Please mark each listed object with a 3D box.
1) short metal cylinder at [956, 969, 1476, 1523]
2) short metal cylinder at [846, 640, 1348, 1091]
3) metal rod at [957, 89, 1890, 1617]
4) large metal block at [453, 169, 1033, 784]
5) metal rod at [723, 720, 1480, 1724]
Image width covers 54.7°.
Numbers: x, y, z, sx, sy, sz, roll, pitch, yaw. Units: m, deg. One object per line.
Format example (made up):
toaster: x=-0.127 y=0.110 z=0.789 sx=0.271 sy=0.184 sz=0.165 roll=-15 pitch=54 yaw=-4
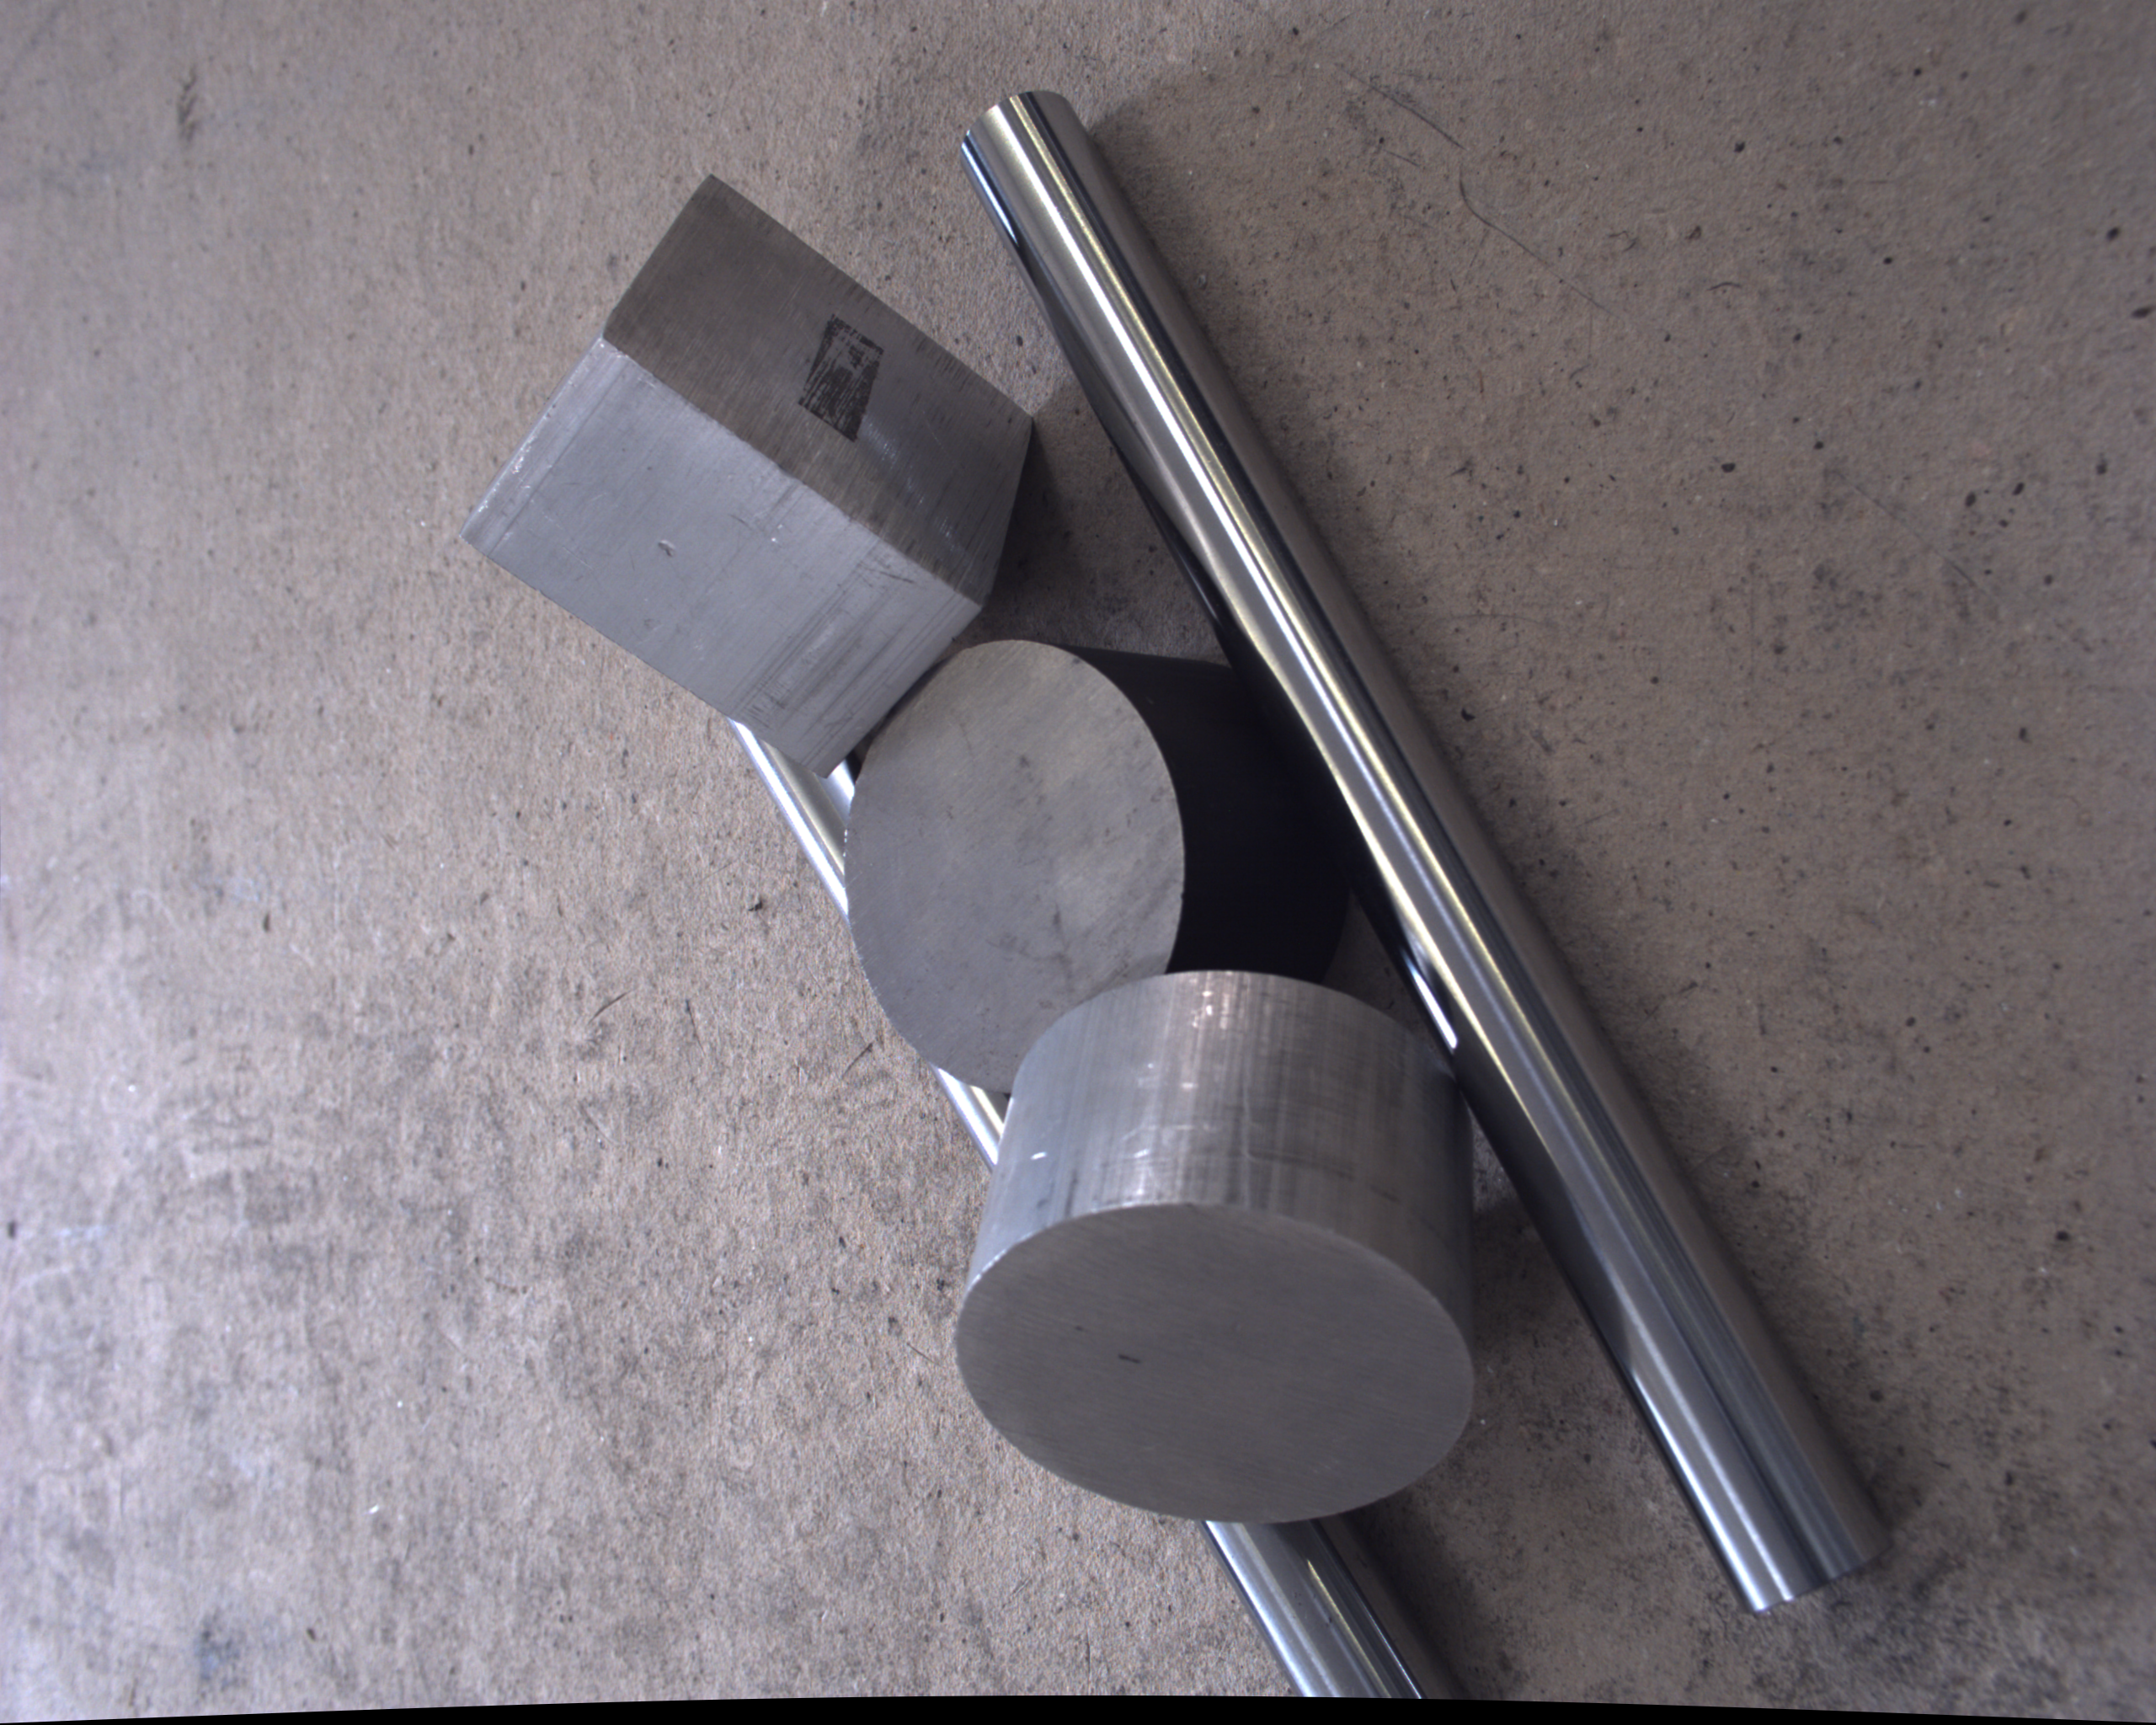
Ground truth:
short metal cylinder: x=0.024 y=0.064 z=0.343 sx=0.080 sy=0.080 sz=0.050 roll=-38 pitch=24 yaw=33
short metal cylinder: x=0.003 y=0.001 z=0.387 sx=0.080 sy=0.050 sz=0.080 roll=0 pitch=90 yaw=40
metal rod: x=0.049 y=-0.018 z=0.365 sx=0.025 sy=0.025 sz=0.299 roll=-39 pitch=66 yaw=33
large metal block: x=-0.060 y=-0.075 z=0.400 sx=0.050 sy=0.080 sz=0.080 roll=-44 pitch=22 yaw=31
metal rod: x=-0.016 y=0.041 z=0.419 sx=0.025 sy=0.025 sz=0.299 roll=-48 pitch=62 yaw=29
